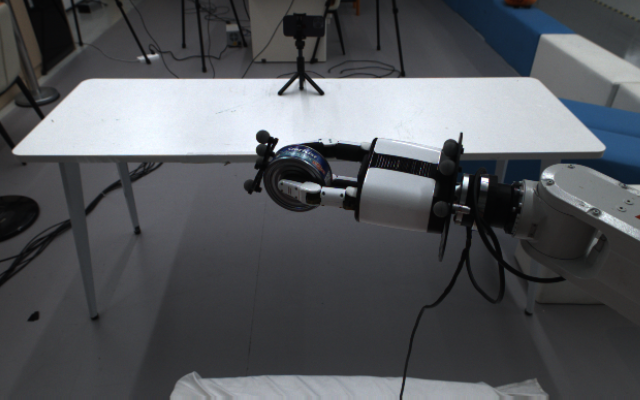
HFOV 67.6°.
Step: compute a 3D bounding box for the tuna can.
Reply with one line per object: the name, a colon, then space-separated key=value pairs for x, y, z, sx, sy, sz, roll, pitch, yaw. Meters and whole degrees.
tuna can: x=-0.027 y=-0.025 z=0.624 sx=0.085 sy=0.085 sz=0.034 roll=10 pitch=34 yaw=11
